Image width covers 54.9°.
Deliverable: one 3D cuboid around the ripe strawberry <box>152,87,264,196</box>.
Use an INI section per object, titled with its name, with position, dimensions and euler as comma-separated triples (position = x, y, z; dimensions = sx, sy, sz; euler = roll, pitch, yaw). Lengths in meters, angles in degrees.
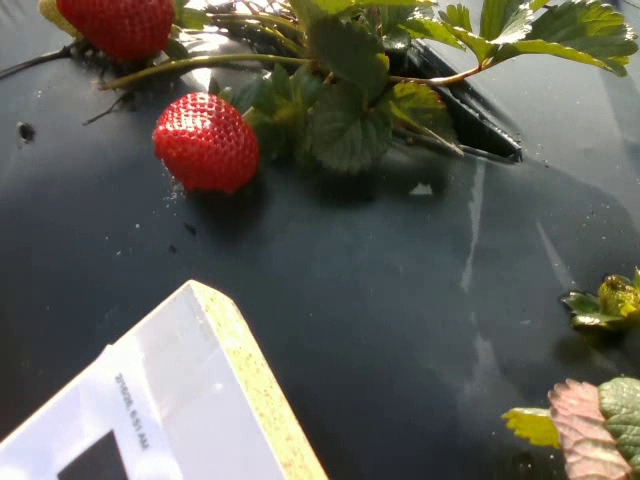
[ripe strawberry]
position = -0.034, -0.030, 0.168
dimensions = 0.037, 0.034, 0.039
euler = -33, -13, 26
